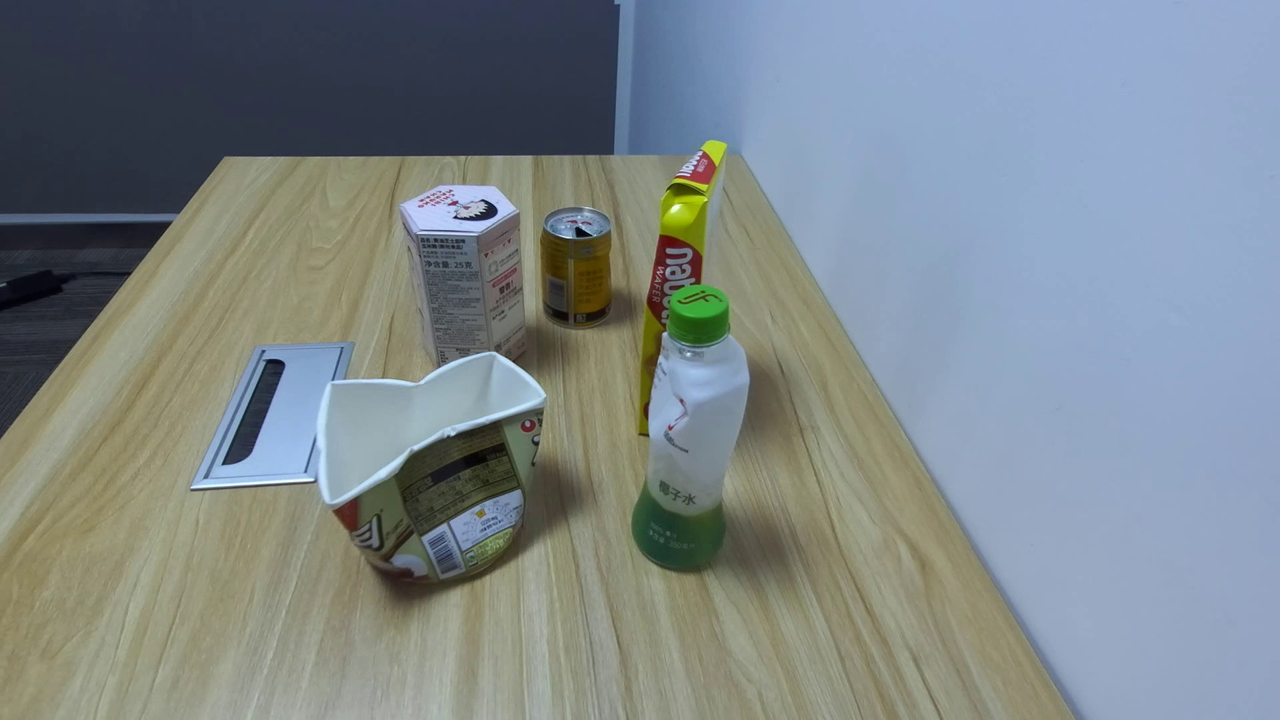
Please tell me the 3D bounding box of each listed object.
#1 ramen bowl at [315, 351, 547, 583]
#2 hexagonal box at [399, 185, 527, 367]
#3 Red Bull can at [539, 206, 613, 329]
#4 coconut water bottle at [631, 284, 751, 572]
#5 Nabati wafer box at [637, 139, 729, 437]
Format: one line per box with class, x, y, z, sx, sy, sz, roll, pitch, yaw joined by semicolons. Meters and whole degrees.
ramen bowl;-0.124;0.067;0.448;0.129;0.093;0.111;-11;43;-18
hexagonal box;-0.141;-0.064;0.575;0.083;0.136;0.091;22;43;21
Red Bull can;-0.056;-0.083;0.642;0.068;0.093;0.068;2;36;-1
coconut water bottle;0.030;0.041;0.413;0.069;0.187;0.069;2;40;-1
Nabati wafer box;0.028;-0.046;0.509;0.042;0.205;0.113;9;38;3
